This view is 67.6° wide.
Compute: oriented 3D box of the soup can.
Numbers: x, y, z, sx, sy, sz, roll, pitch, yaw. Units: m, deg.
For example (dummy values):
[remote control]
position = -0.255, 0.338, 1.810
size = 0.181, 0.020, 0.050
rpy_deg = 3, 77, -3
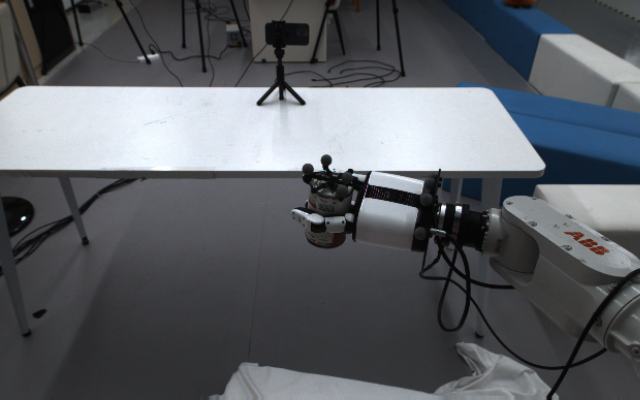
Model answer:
[soup can]
position = 0.014, 0.017, 0.750
size = 0.067, 0.101, 0.067
rpy_deg = 5, 37, -4
